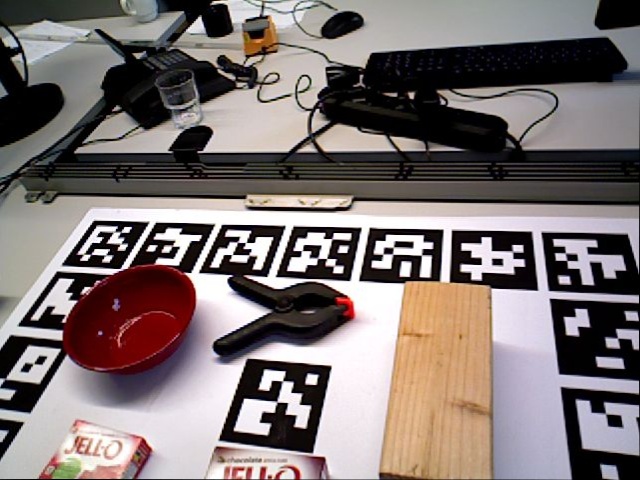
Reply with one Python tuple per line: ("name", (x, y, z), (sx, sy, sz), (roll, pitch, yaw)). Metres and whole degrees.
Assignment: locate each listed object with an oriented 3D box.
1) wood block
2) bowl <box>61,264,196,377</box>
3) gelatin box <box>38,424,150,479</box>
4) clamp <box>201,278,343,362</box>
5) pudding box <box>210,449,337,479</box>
("wood block", (0.124, 0.142, 0.500), (0.090, 0.092, 0.202), (4, 46, 14))
("bowl", (-0.221, 0.106, 0.653), (0.161, 0.056, 0.159), (-6, 47, 6))
("gelatin box", (-0.226, 0.229, 0.536), (0.090, 0.031, 0.072), (7, 49, 19))
("clamp", (-0.055, 0.088, 0.649), (0.165, 0.037, 0.120), (-5, 44, 5))
("pudding box", (-0.047, 0.239, 0.480), (0.114, 0.039, 0.088), (-1, 49, 15))
